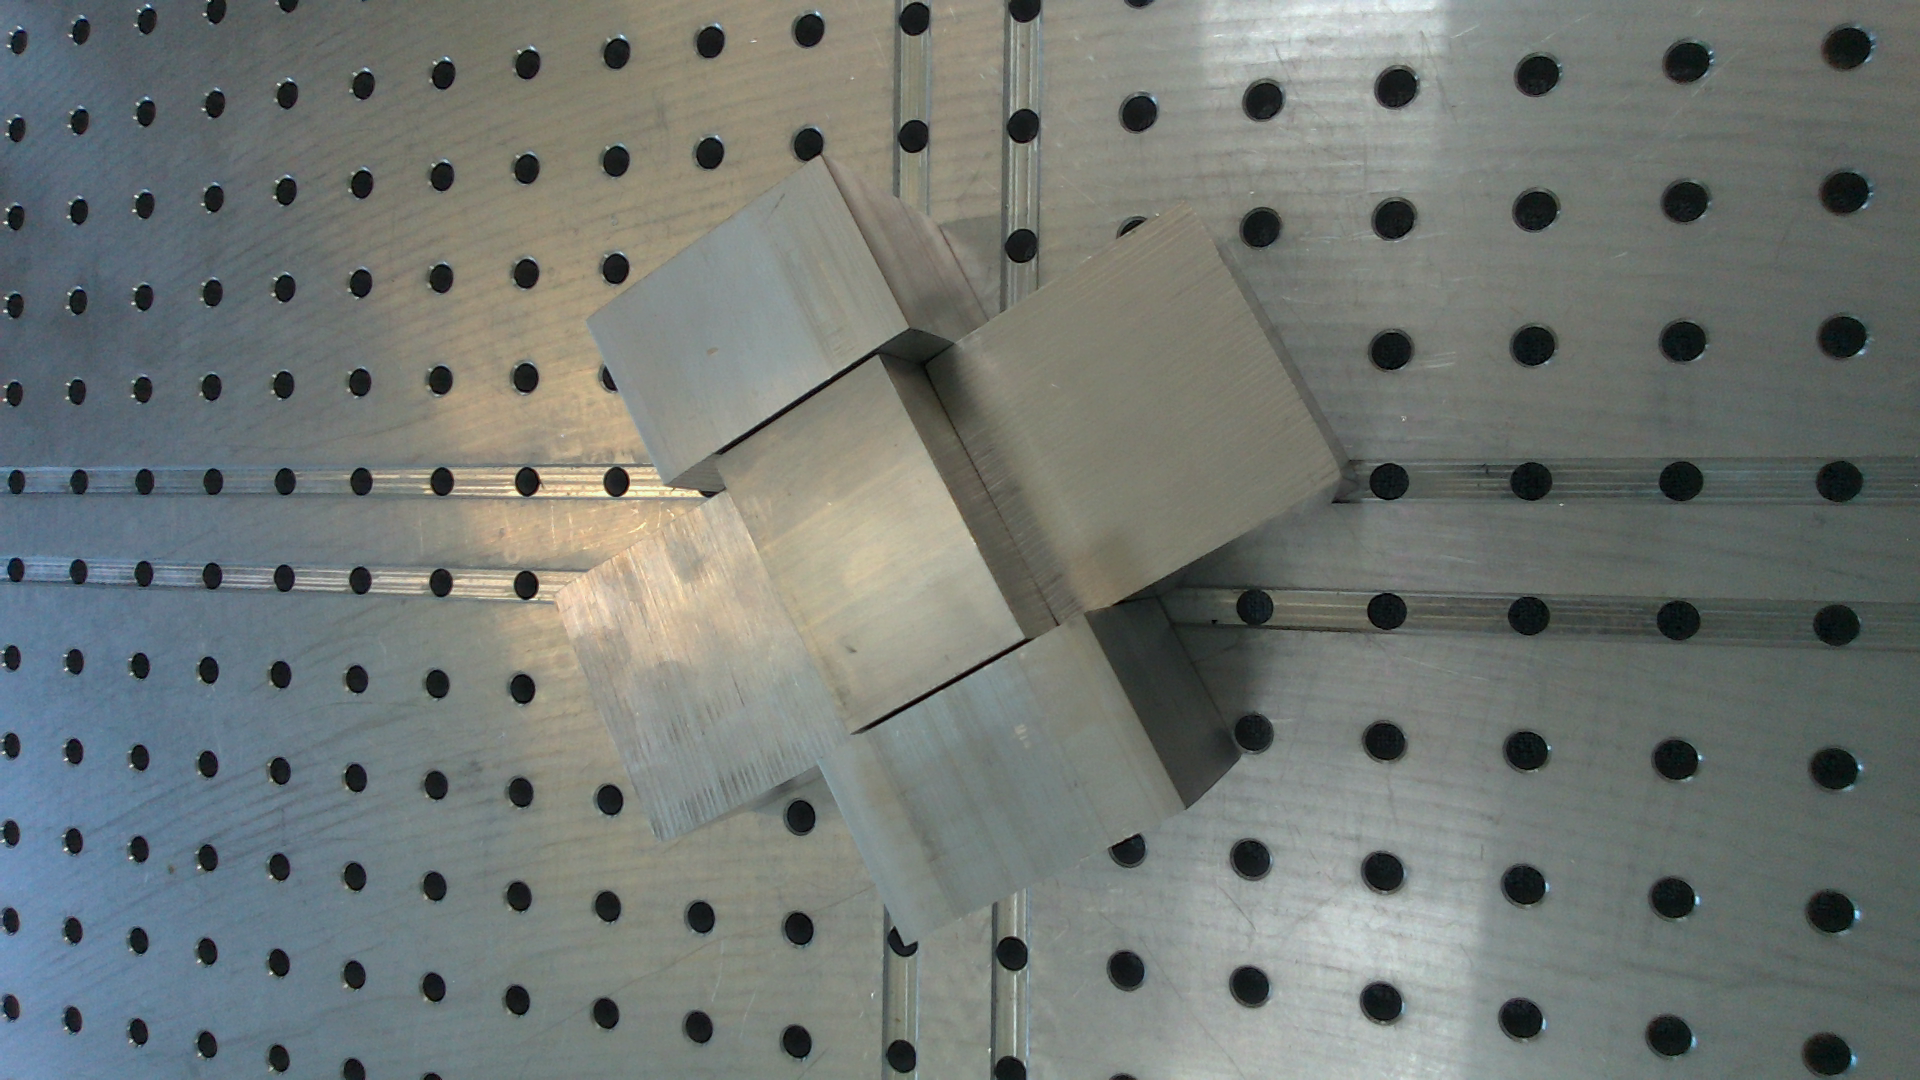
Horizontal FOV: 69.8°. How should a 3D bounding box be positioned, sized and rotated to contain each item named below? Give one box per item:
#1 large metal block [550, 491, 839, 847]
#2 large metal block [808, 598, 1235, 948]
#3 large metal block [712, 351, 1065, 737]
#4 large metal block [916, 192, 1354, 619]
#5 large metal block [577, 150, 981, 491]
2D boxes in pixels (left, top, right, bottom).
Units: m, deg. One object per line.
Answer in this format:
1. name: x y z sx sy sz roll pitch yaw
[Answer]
1. large metal block: -0.061 0.034 0.408 0.080 0.050 0.080 -28 80 18
2. large metal block: 0.020 0.057 0.362 0.080 0.080 0.050 -30 80 17
3. large metal block: -0.011 0.001 0.373 0.050 0.080 0.080 -30 80 18
4. large metal block: 0.048 -0.032 0.367 0.080 0.050 0.080 -30 82 18
5. large metal block: -0.043 -0.055 0.384 0.080 0.080 0.050 -30 80 18
